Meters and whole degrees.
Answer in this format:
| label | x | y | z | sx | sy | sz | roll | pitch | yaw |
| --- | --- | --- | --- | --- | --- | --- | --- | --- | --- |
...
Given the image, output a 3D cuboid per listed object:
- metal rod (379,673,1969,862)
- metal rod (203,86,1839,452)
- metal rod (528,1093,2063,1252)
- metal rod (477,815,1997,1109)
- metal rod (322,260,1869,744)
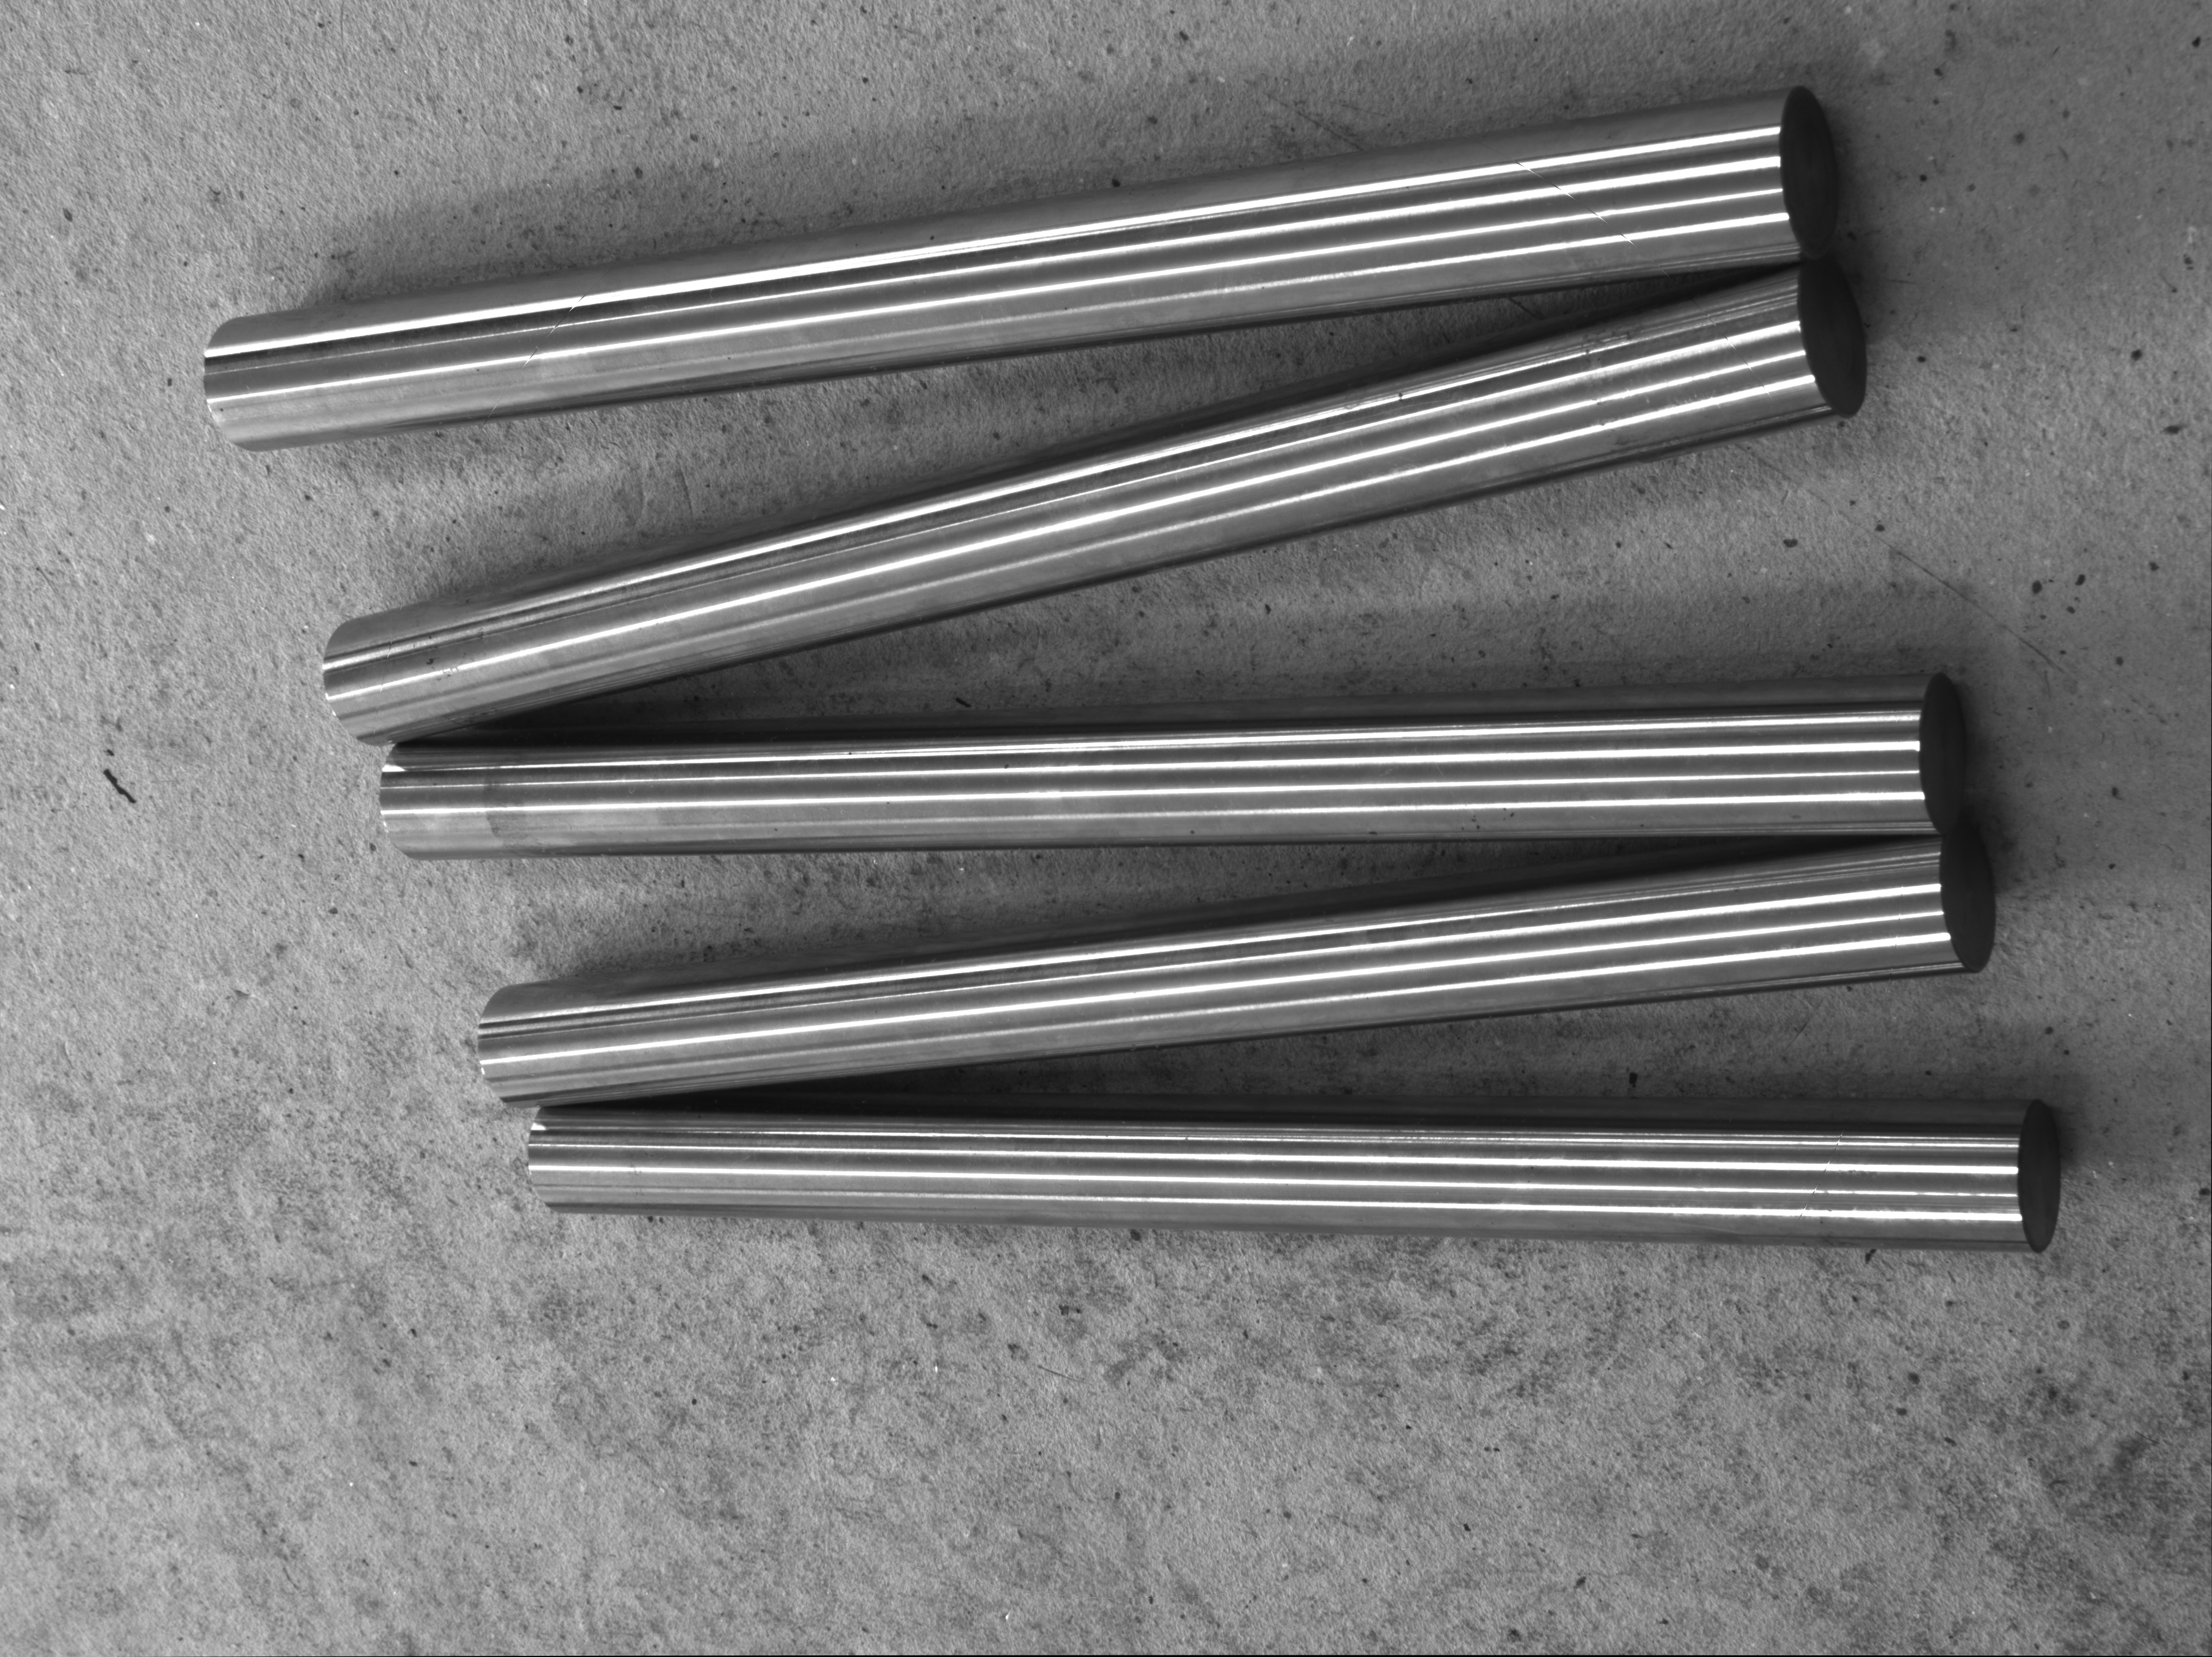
| label | x | y | z | sx | sy | sz | roll | pitch | yaw |
| --- | --- | --- | --- | --- | --- | --- | --- | --- | --- |
| metal rod | -0.001 | -0.009 | 0.638 | 0.299 | 0.025 | 0.025 | -1 | 118 | 29 |
| metal rod | -0.028 | -0.088 | 0.604 | 0.299 | 0.025 | 0.025 | -3 | 117 | 29 |
| metal rod | 0.022 | 0.061 | 0.669 | 0.299 | 0.025 | 0.025 | -2 | 117 | 29 |
| metal rod | 0.009 | 0.027 | 0.654 | 0.299 | 0.025 | 0.025 | -8 | 114 | 31 |
| metal rod | -0.017 | -0.050 | 0.621 | 0.299 | 0.025 | 0.025 | -10 | 113 | 32 |
